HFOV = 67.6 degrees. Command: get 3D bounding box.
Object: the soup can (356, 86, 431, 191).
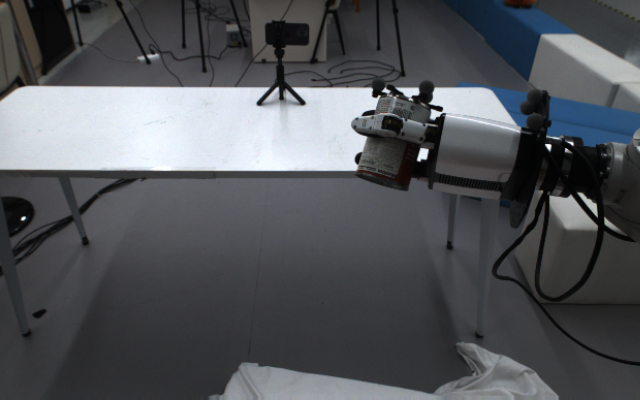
[{"bbox_3d":[0.091,-0.070,0.592,0.067,0.101,0.067,17,-1,0],"label":"soup can"}]
